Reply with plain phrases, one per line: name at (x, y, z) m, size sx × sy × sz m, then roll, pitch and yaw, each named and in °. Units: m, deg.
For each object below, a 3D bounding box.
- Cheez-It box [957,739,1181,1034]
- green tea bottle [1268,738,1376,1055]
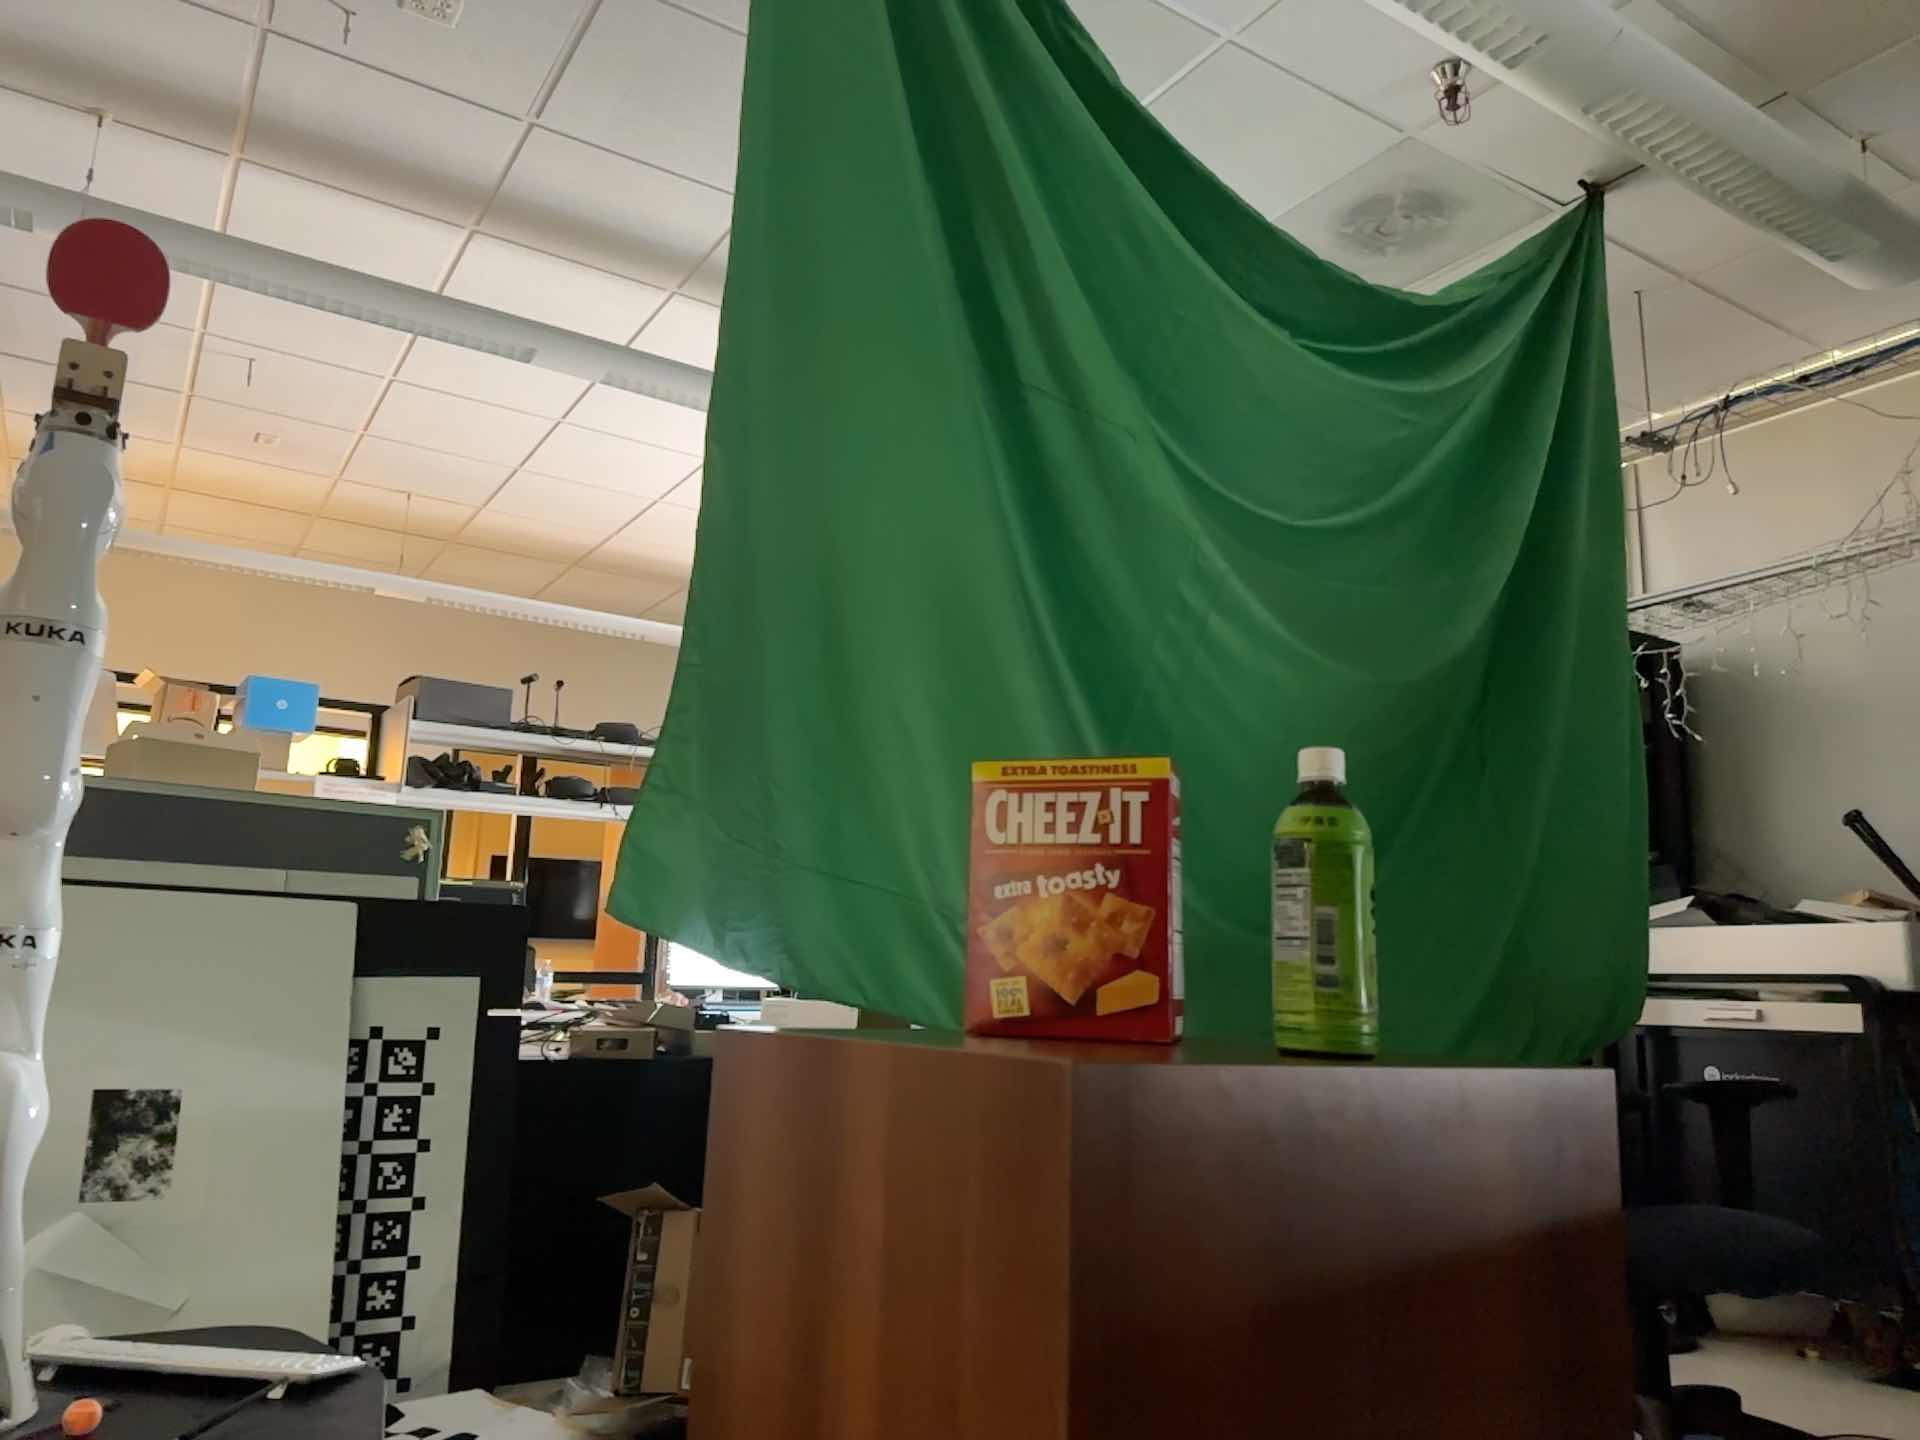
Cheez-It box at (0.085, 0.130, 1.055) m, size 0.159 × 0.214 × 0.062 m, roll -2°, pitch -8°, yaw 15°
green tea bottle at (0.246, 0.118, 0.919) m, size 0.073 × 0.212 × 0.073 m, roll 2°, pitch -8°, yaw 0°
